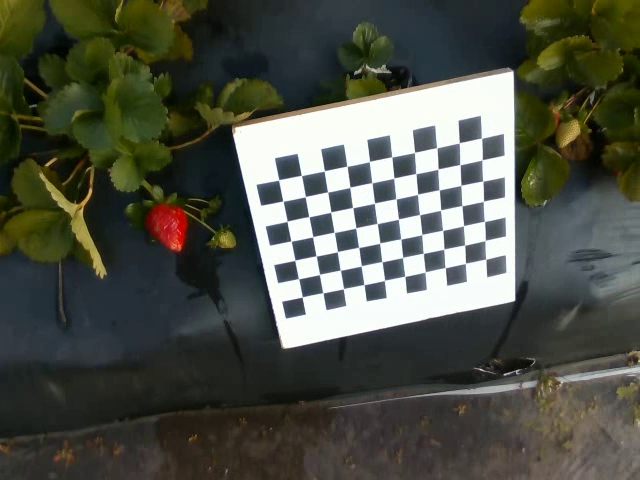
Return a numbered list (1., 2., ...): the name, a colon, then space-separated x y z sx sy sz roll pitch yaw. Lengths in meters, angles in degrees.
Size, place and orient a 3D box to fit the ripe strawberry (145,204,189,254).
1. ripe strawberry: -0.159 -0.009 0.630 0.043 0.057 0.052 -33 -36 12
